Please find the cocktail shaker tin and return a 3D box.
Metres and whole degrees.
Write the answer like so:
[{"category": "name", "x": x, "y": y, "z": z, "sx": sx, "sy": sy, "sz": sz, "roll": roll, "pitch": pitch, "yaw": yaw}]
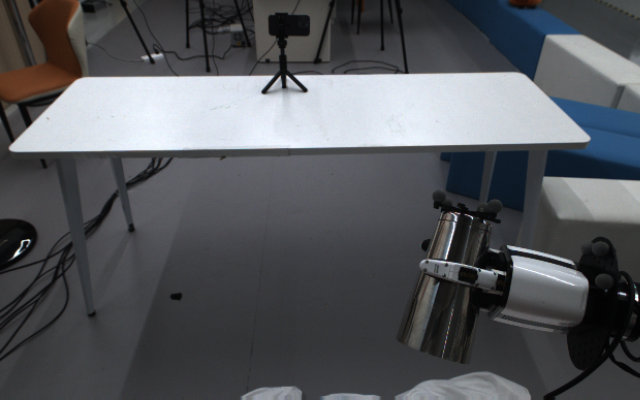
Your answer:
[{"category": "cocktail shaker tin", "x": 0.162, "y": 0.104, "z": 0.607, "sx": 0.093, "sy": 0.170, "sz": 0.093, "roll": 17, "pitch": -7, "yaw": 2}]
